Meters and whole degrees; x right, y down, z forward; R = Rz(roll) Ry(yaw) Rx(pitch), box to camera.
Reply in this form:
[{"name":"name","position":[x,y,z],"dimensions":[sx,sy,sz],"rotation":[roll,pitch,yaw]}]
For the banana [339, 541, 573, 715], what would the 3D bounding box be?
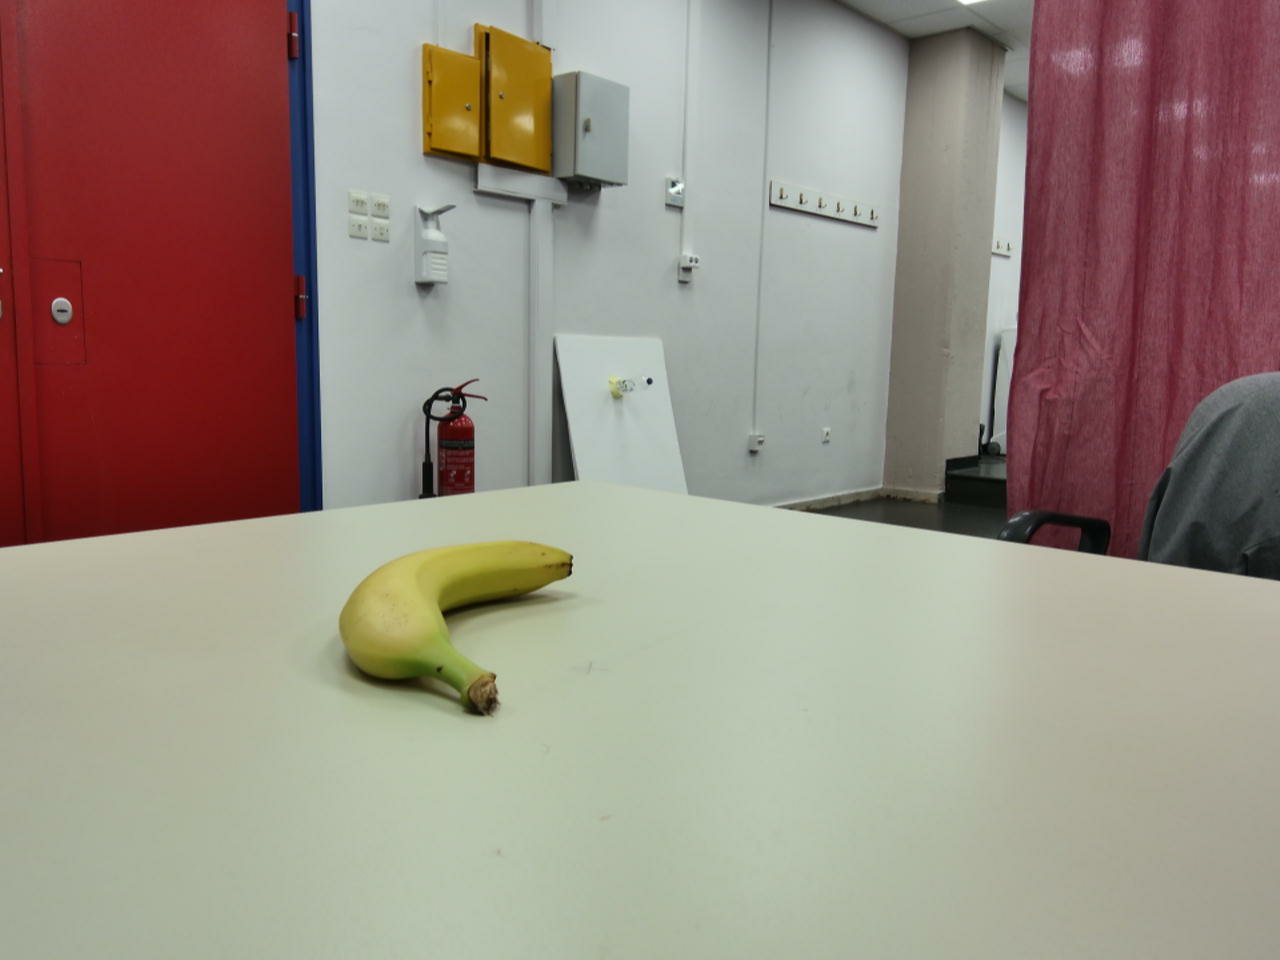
[{"name":"banana","position":[-0.094,0.060,0.488],"dimensions":[0.094,0.041,0.196],"rotation":[2,6,6]}]
